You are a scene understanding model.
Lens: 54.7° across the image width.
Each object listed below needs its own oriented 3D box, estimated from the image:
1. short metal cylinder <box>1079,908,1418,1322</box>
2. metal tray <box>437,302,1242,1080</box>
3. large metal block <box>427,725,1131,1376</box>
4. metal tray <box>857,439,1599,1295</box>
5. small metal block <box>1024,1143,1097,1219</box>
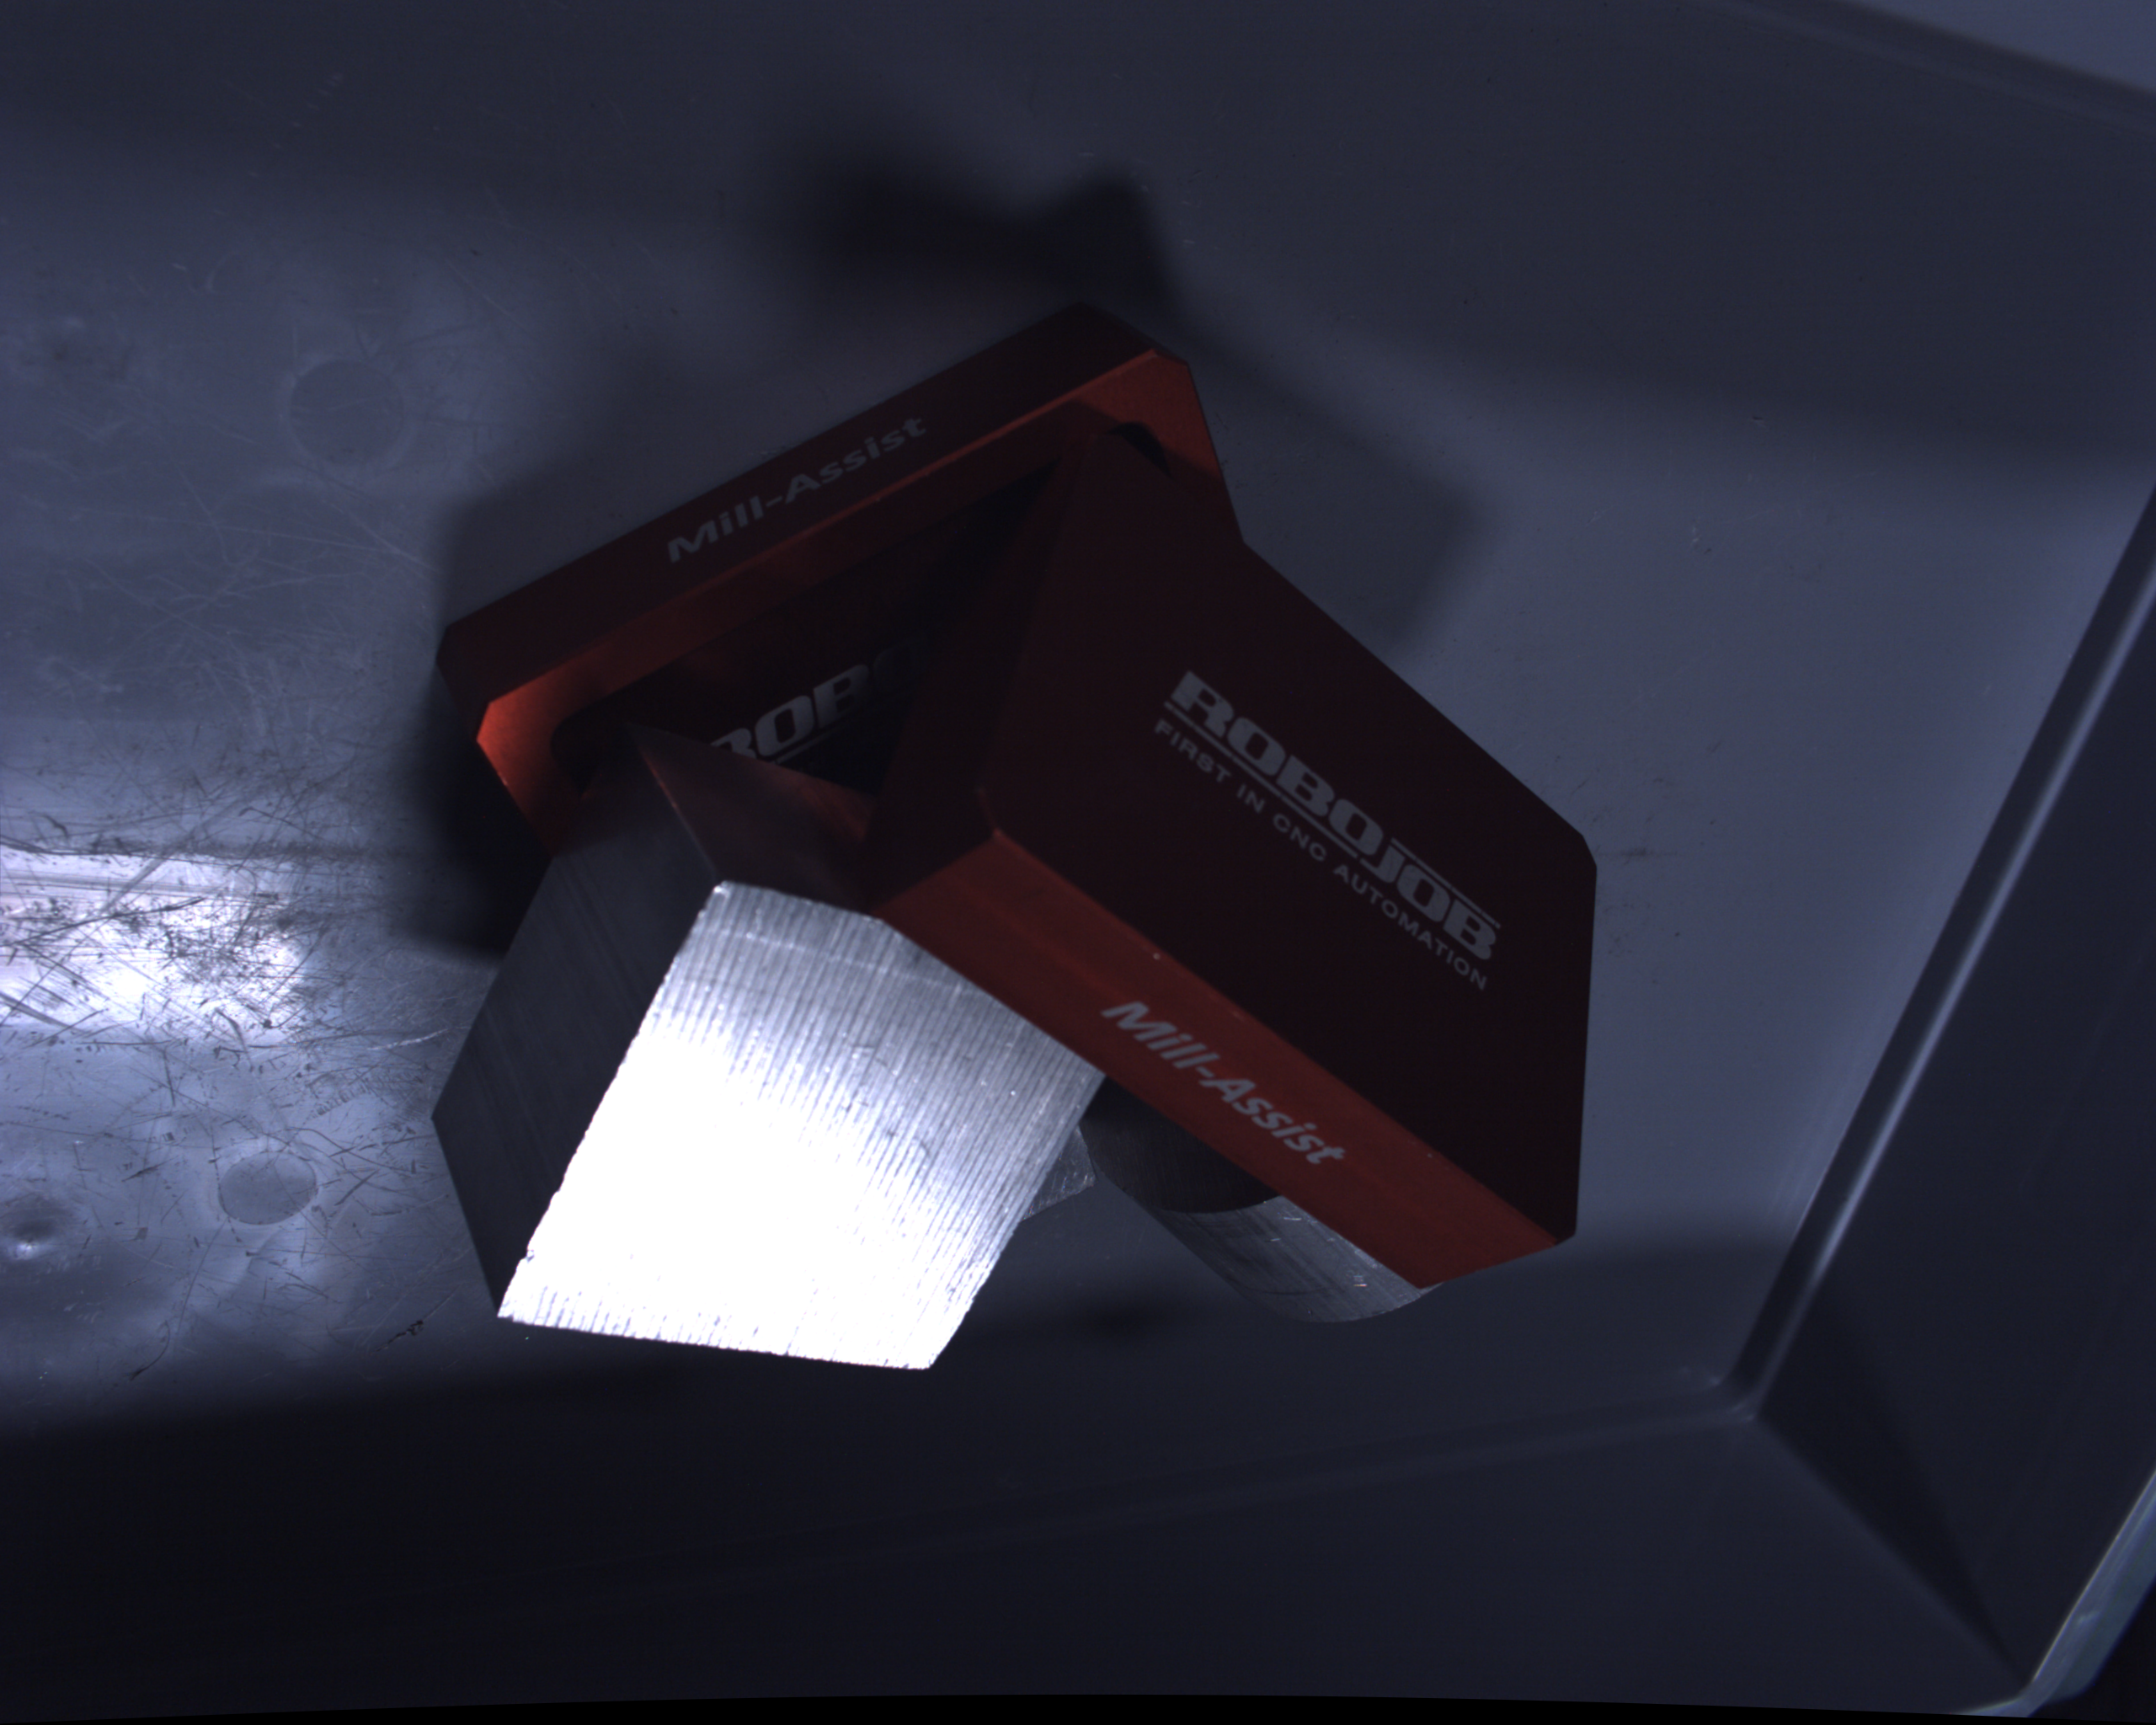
[{"bbox_3d":[0.047,0.047,0.428,0.080,0.080,0.050,-43,130,1],"label":"short metal cylinder"},{"bbox_3d":[-0.032,-0.029,0.369,0.131,0.030,0.090,-30,129,-10],"label":"metal tray"},{"bbox_3d":[-0.049,0.033,0.344,0.081,0.050,0.080,18,109,-36],"label":"large metal block"},{"bbox_3d":[0.033,0.002,0.347,0.130,0.090,0.030,37,136,-25],"label":"metal tray"},{"bbox_3d":[-0.029,0.052,0.425,0.050,0.025,0.050,-26,128,-13],"label":"small metal block"}]
